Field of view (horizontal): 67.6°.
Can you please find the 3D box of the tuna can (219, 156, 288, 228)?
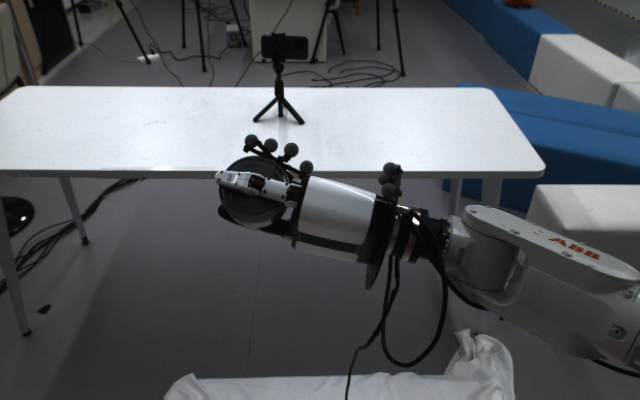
[{"bbox_3d":[-0.078,-0.011,0.601,0.085,0.034,0.085,0,72,0],"label":"tuna can"}]
